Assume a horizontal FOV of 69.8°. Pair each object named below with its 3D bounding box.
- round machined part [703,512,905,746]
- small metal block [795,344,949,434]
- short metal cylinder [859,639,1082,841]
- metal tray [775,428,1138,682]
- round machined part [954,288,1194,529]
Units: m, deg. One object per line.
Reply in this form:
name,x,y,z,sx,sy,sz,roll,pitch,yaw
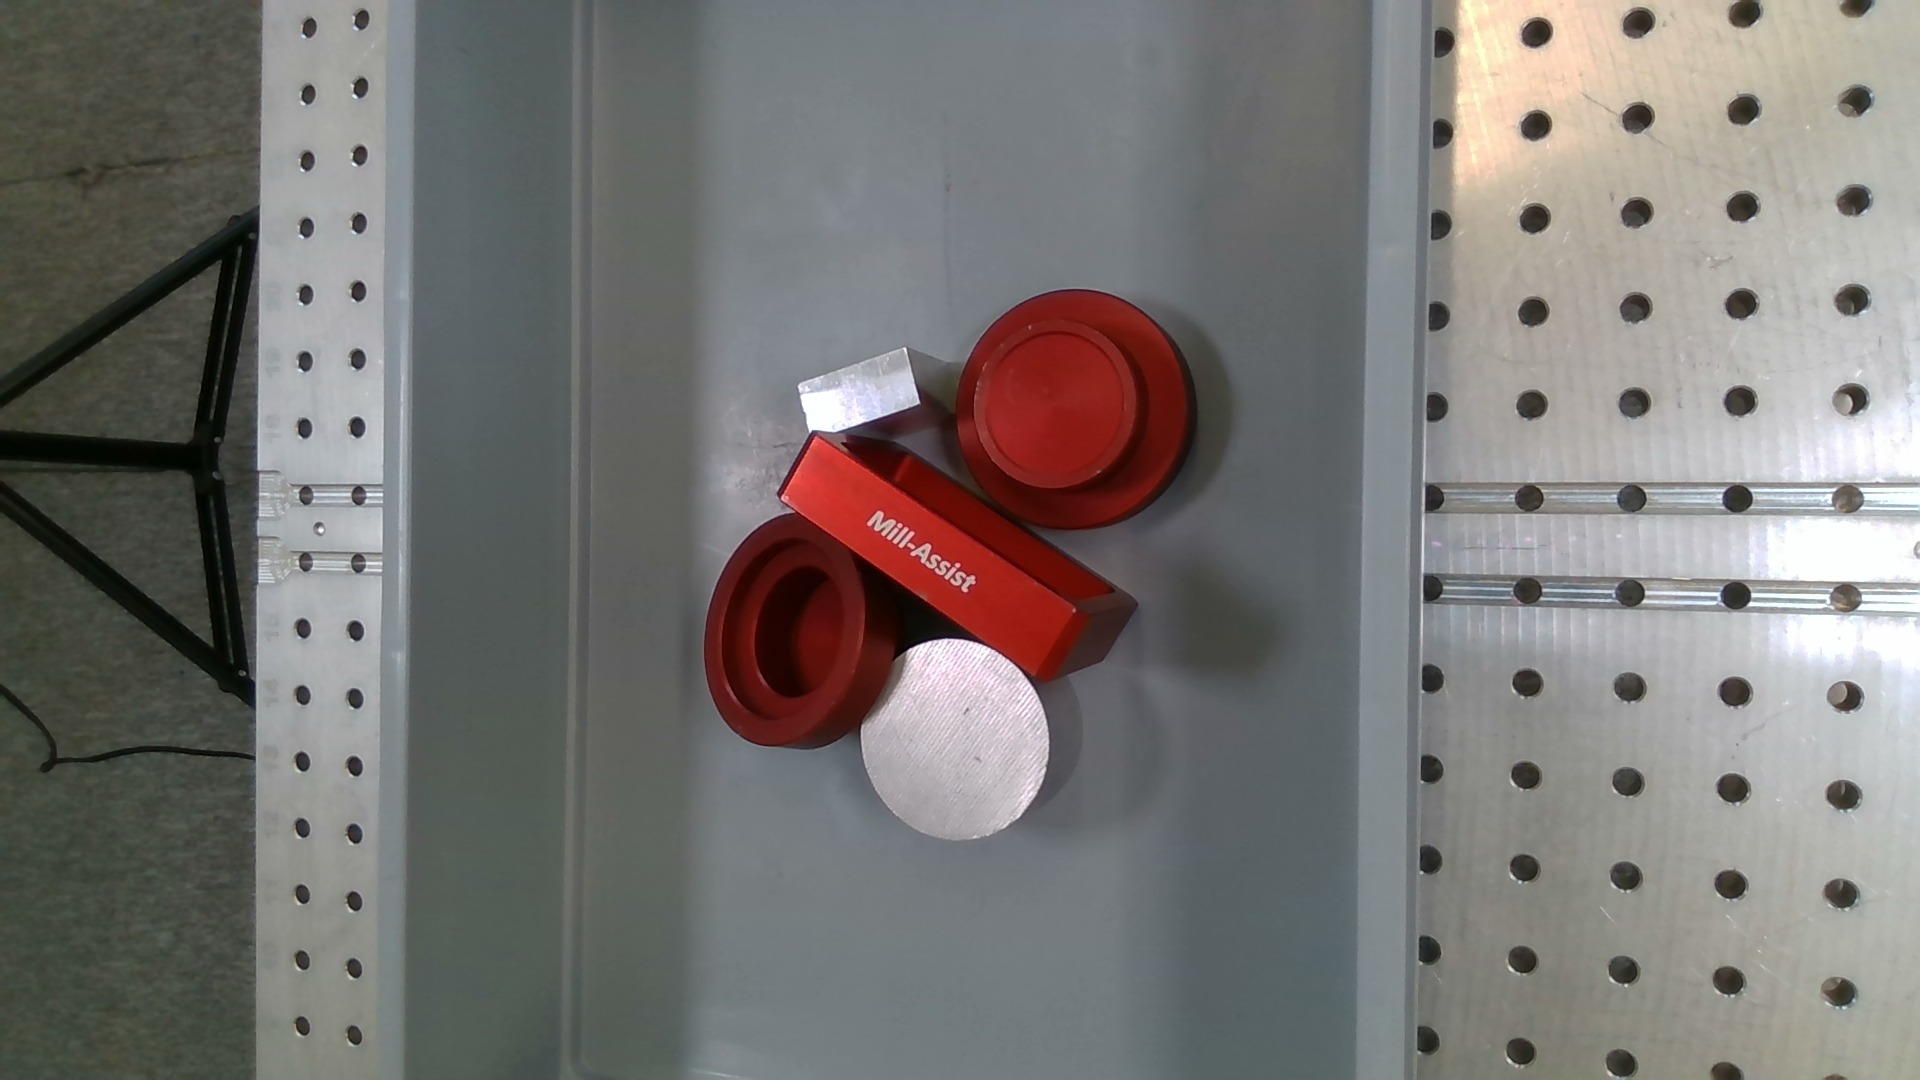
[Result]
round machined part,-0.062,0.040,0.587,0.098,0.042,0.098,-11,73,39
small metal block,-0.034,-0.060,0.582,0.050,0.050,0.025,-16,85,20
short metal cylinder,0.005,0.079,0.570,0.080,0.050,0.080,0,91,20
metal tray,0.001,0.004,0.549,0.130,0.090,0.030,34,101,17
round machined part,0.043,-0.053,0.558,0.098,0.042,0.098,0,91,20
